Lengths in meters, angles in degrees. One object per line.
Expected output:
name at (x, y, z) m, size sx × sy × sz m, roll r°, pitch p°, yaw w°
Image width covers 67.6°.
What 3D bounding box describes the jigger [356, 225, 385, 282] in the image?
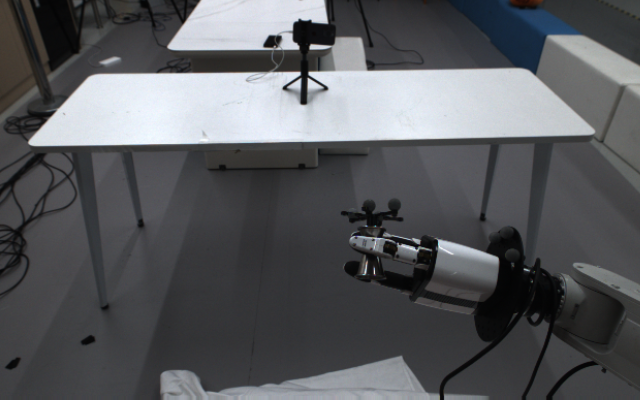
jigger at (0.069, 0.071, 0.663) m, size 0.043 × 0.043 × 0.071 m, roll 3°, pitch 75°, yaw 1°
